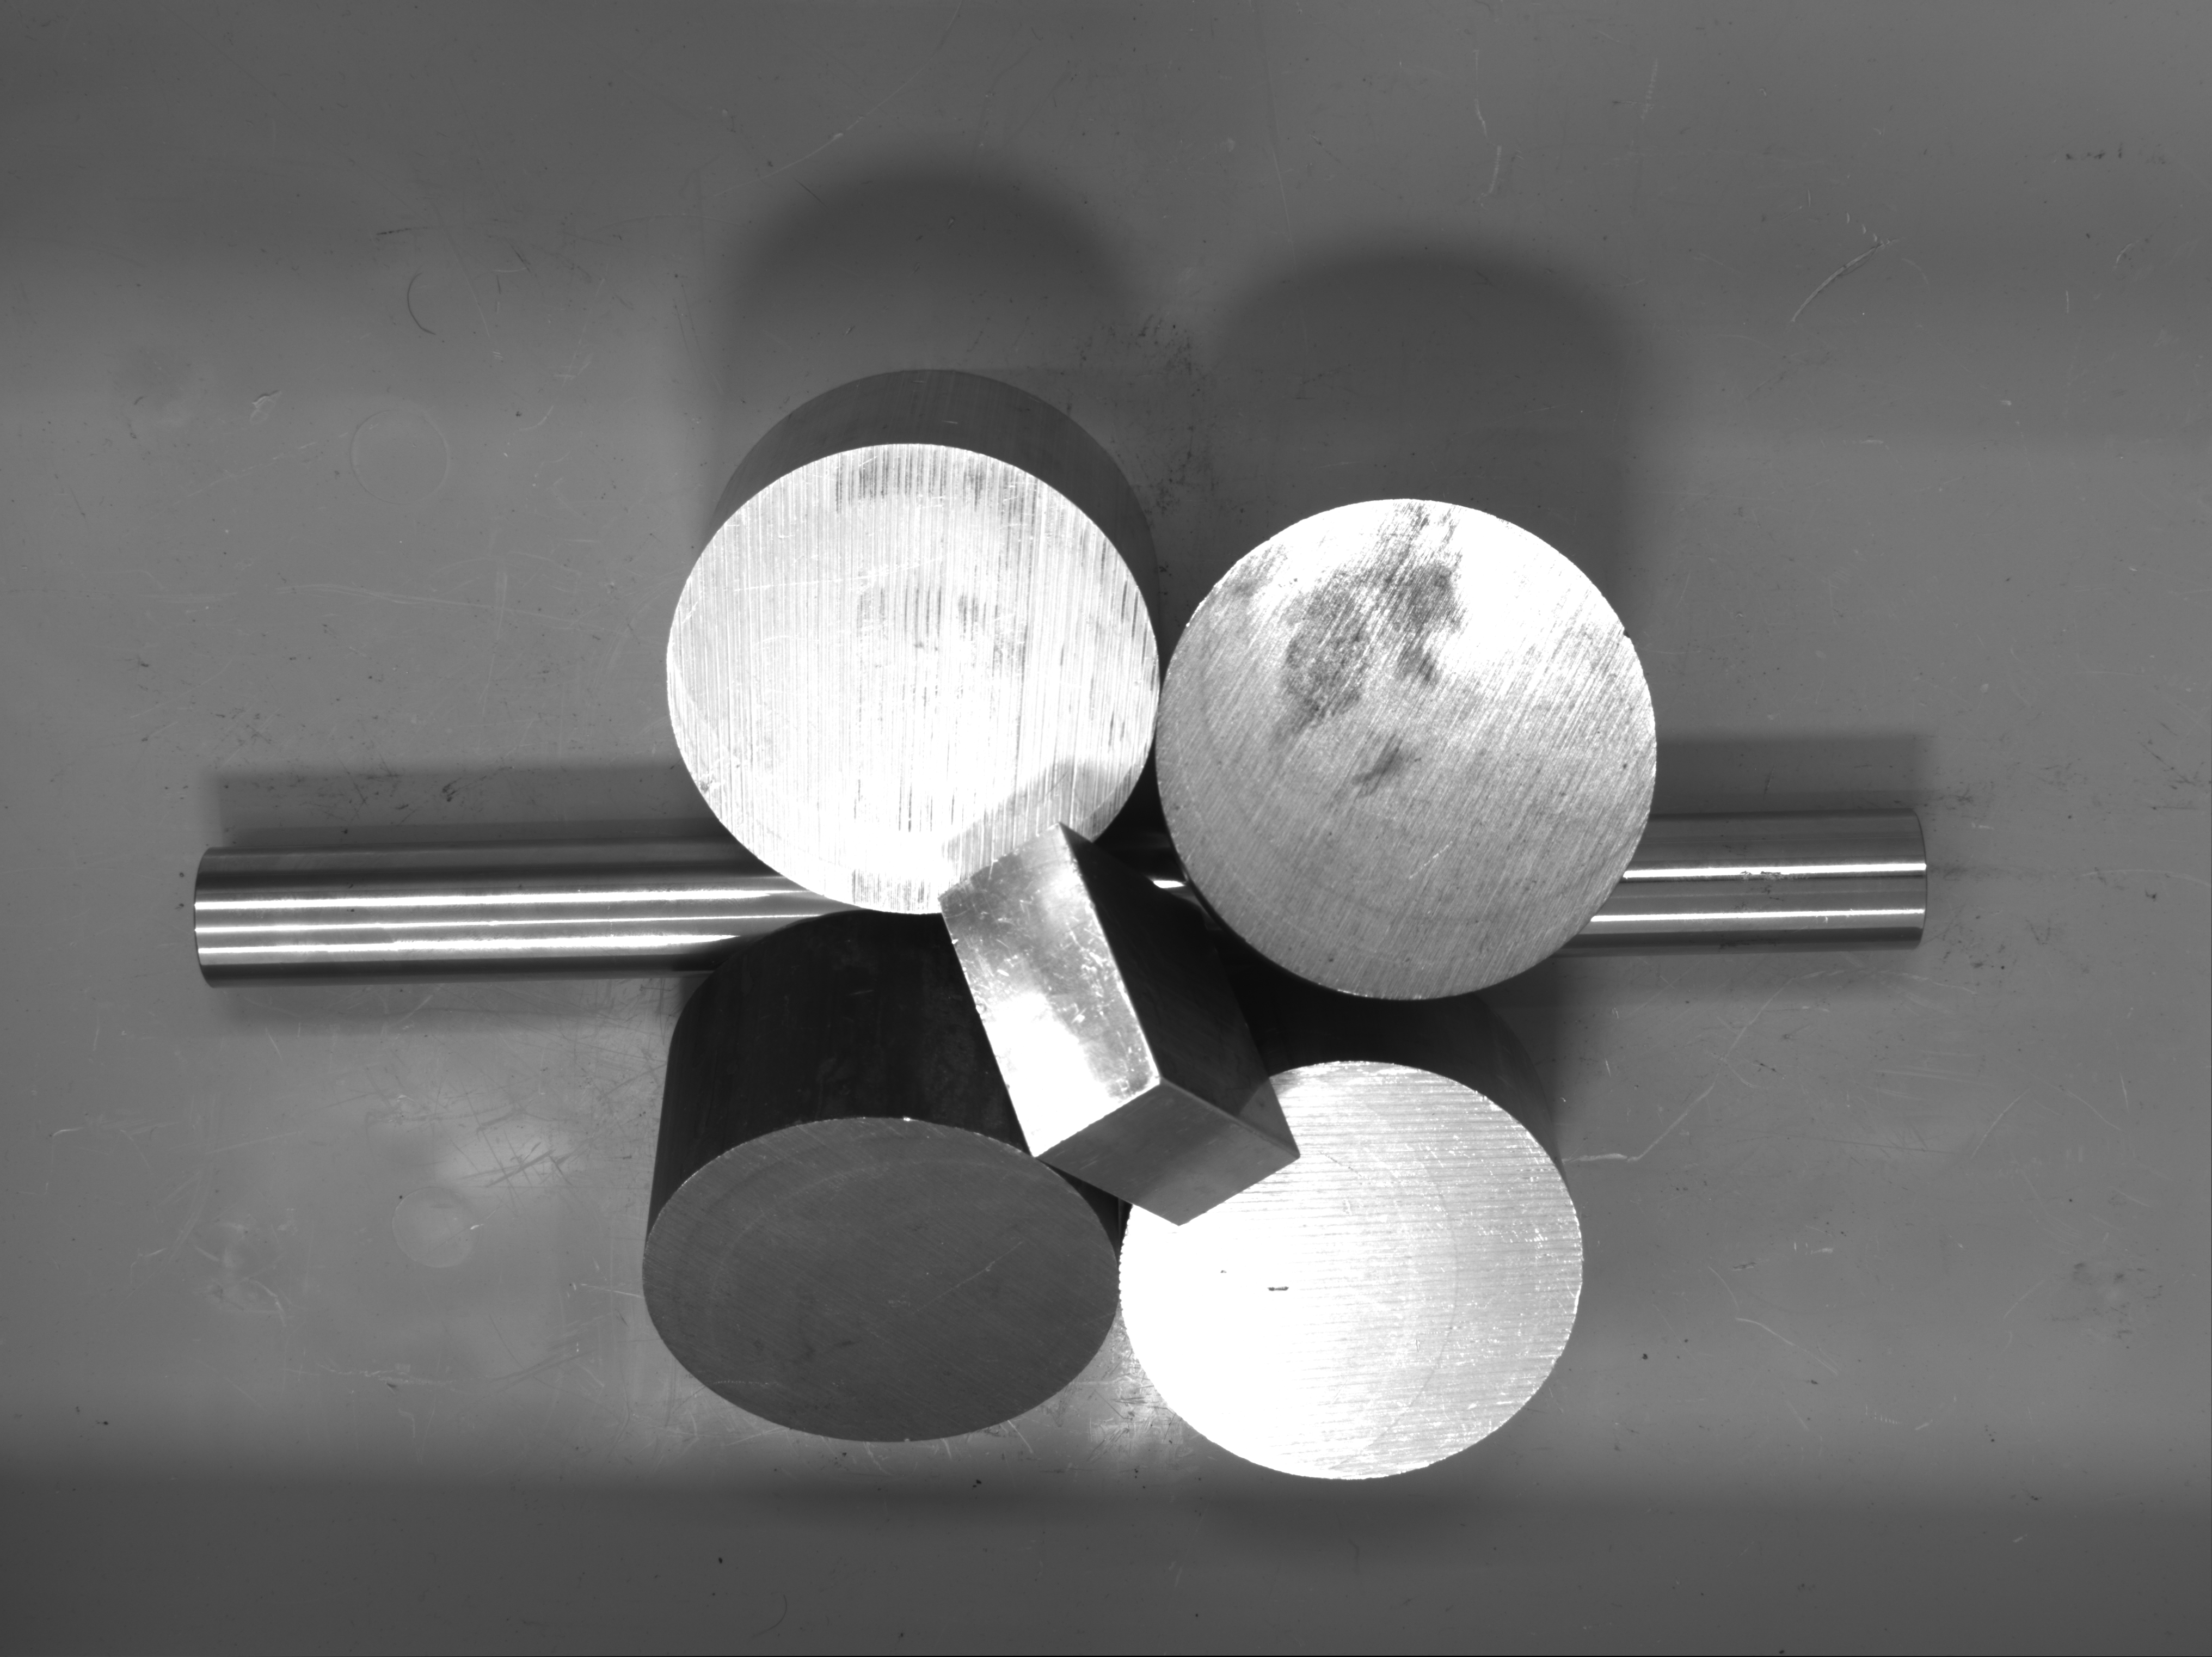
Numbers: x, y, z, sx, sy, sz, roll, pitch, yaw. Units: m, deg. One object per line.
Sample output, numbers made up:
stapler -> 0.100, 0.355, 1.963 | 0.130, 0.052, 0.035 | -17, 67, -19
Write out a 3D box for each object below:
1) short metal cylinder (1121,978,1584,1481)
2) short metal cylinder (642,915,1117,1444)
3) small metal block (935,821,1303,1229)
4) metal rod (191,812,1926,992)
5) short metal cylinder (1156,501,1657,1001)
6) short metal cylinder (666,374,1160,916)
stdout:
short metal cylinder -> 0.042, 0.068, 0.654 | 0.080, 0.050, 0.080 | 0, 110, 0
short metal cylinder -> -0.038, 0.062, 0.639 | 0.080, 0.050, 0.080 | -1, 130, -1
small metal block -> 0.002, 0.033, 0.604 | 0.025, 0.050, 0.050 | -32, 149, 17
metal rod -> -0.008, 0.013, 0.647 | 0.300, 0.025, 0.025 | -1, 110, 0
short metal cylinder -> 0.048, -0.011, 0.611 | 0.080, 0.050, 0.080 | 0, 87, 0
short metal cylinder -> -0.031, -0.032, 0.618 | 0.080, 0.050, 0.080 | 0, 110, 0
